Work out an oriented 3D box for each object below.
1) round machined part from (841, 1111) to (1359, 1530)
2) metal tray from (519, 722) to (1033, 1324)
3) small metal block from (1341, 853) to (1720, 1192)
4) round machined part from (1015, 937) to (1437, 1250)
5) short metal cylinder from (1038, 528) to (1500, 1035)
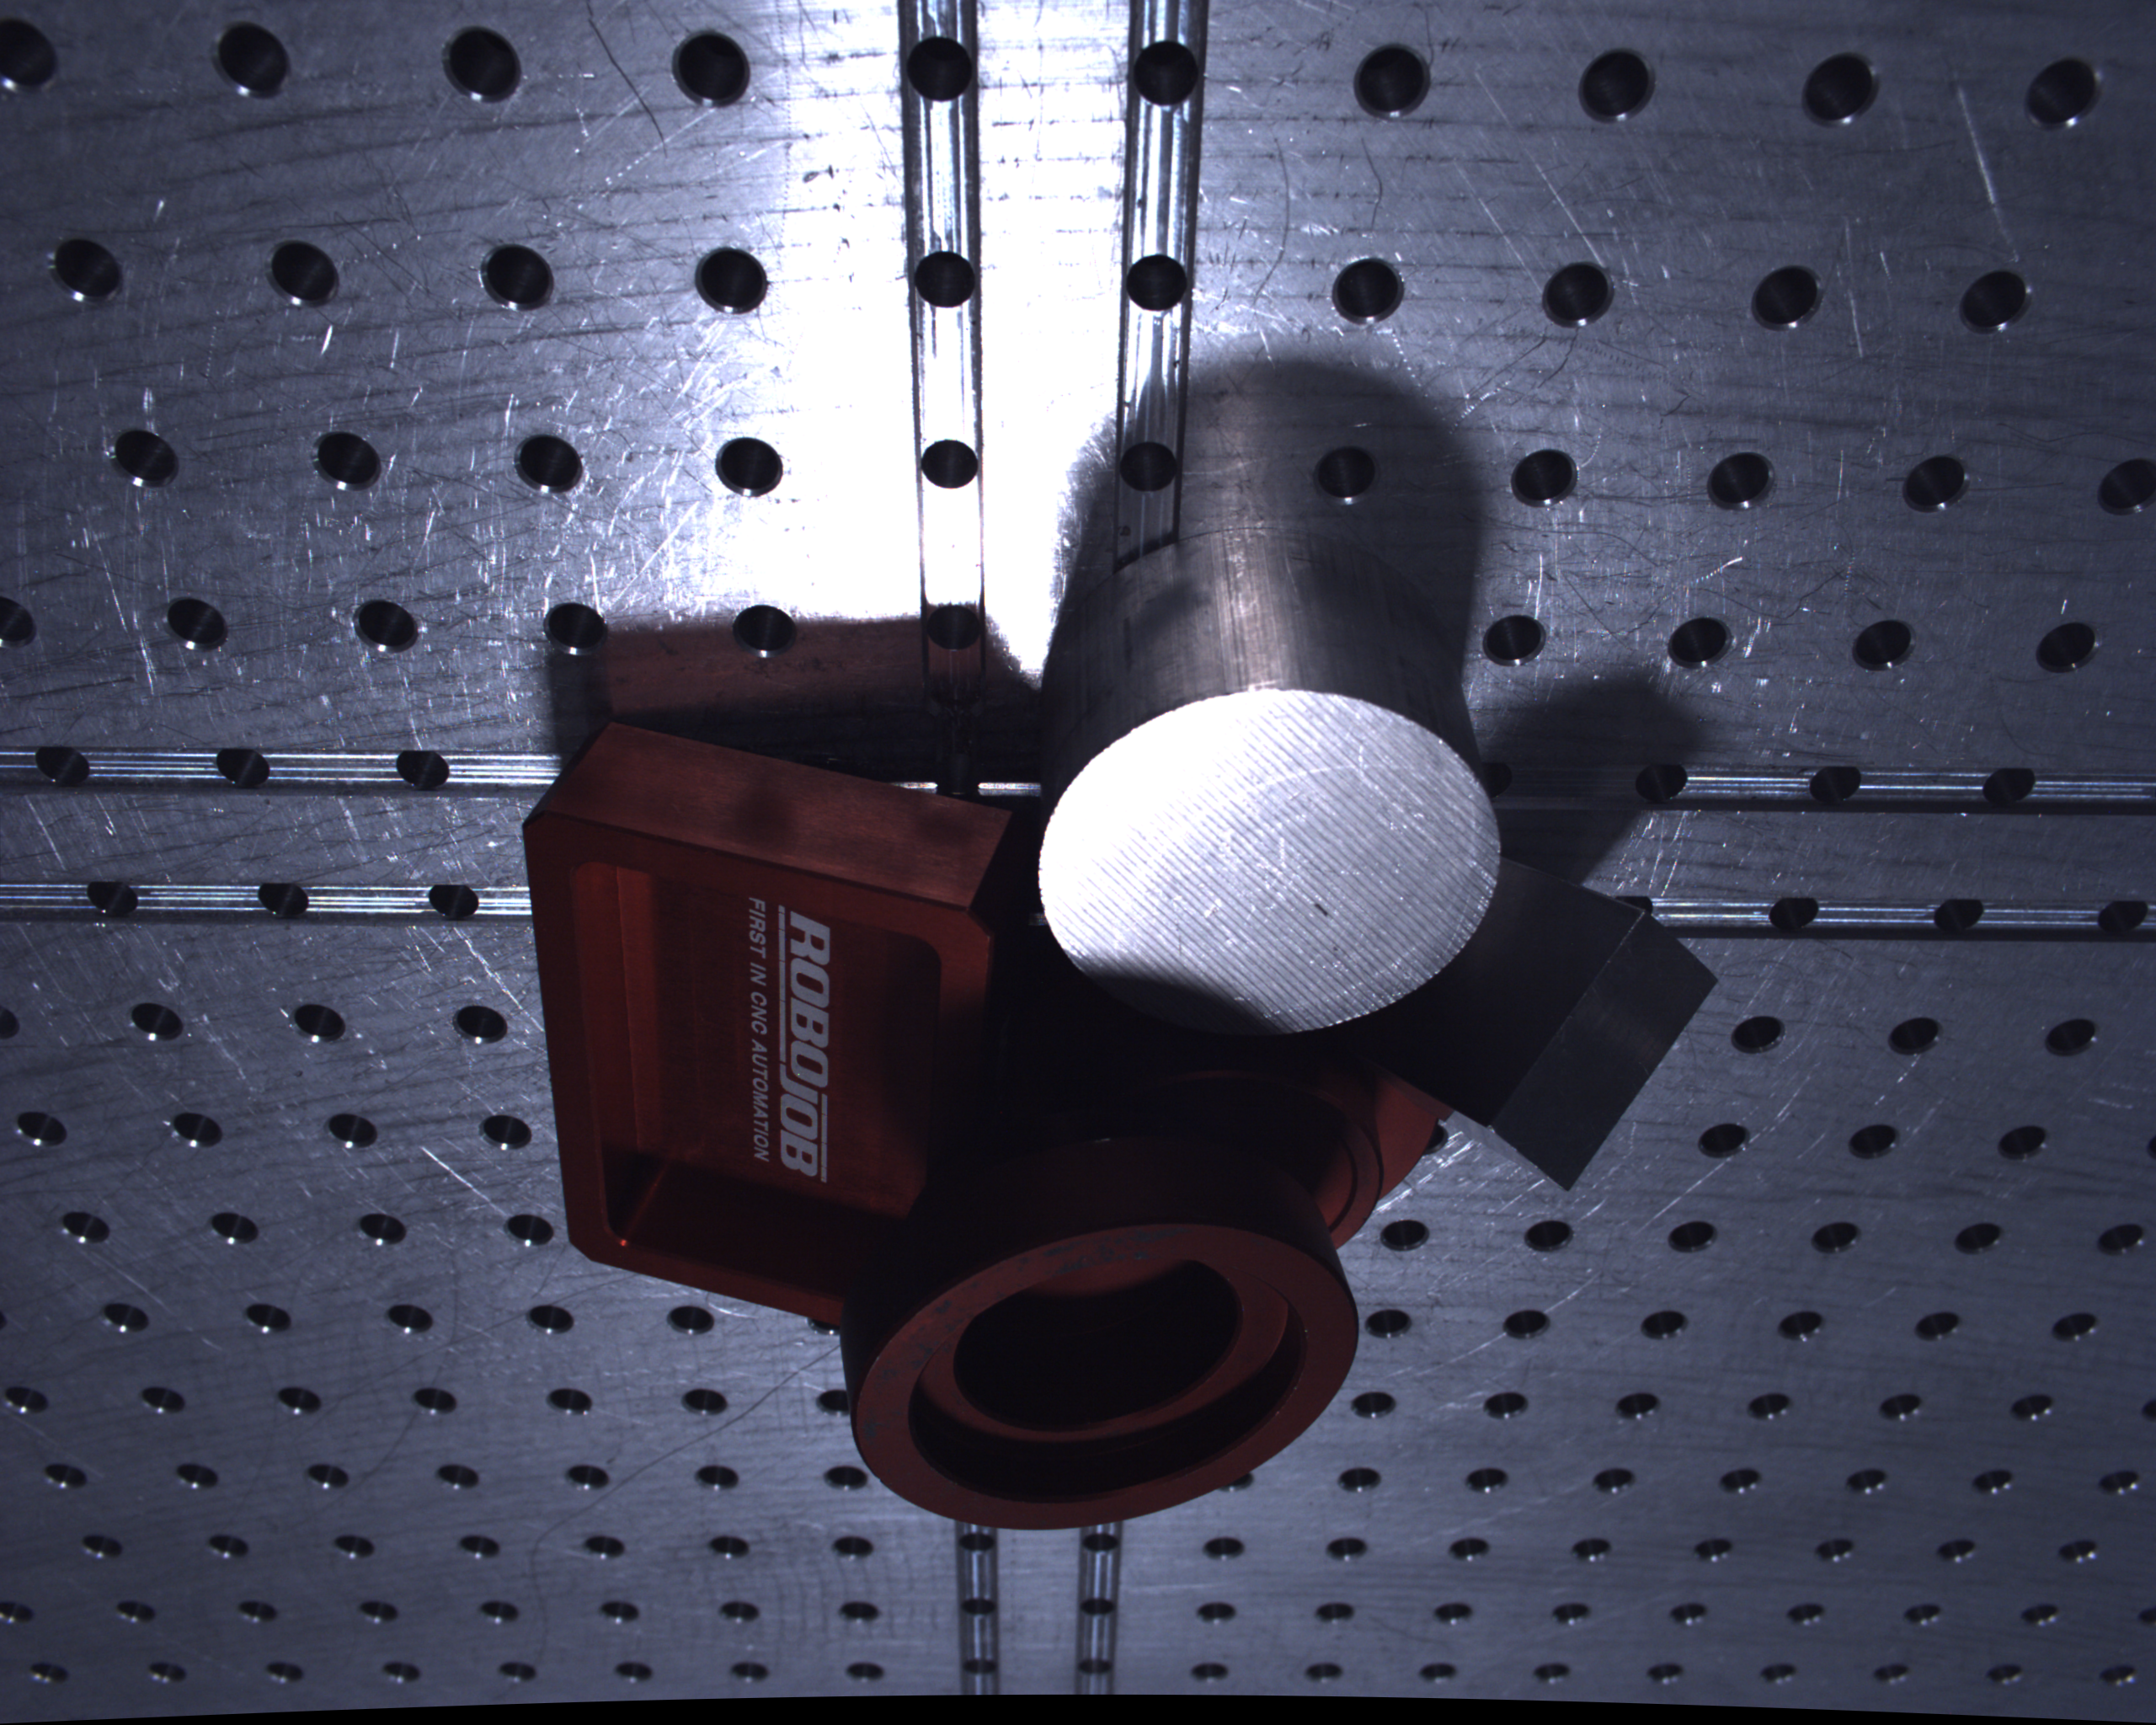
[{"bbox_3d":[0.002,0.087,0.412,0.099,0.042,0.097,-7,133,-8],"label":"round machined part"},{"bbox_3d":[-0.061,0.039,0.427,0.090,0.030,0.129,13,130,7],"label":"metal tray"},{"bbox_3d":[0.087,0.029,0.409,0.025,0.050,0.050,39,85,-28],"label":"small metal block"},{"bbox_3d":[0.029,0.054,0.446,0.099,0.042,0.097,-1,130,0],"label":"round machined part"},{"bbox_3d":[0.033,-0.014,0.383,0.081,0.050,0.079,0,130,0],"label":"short metal cylinder"}]
